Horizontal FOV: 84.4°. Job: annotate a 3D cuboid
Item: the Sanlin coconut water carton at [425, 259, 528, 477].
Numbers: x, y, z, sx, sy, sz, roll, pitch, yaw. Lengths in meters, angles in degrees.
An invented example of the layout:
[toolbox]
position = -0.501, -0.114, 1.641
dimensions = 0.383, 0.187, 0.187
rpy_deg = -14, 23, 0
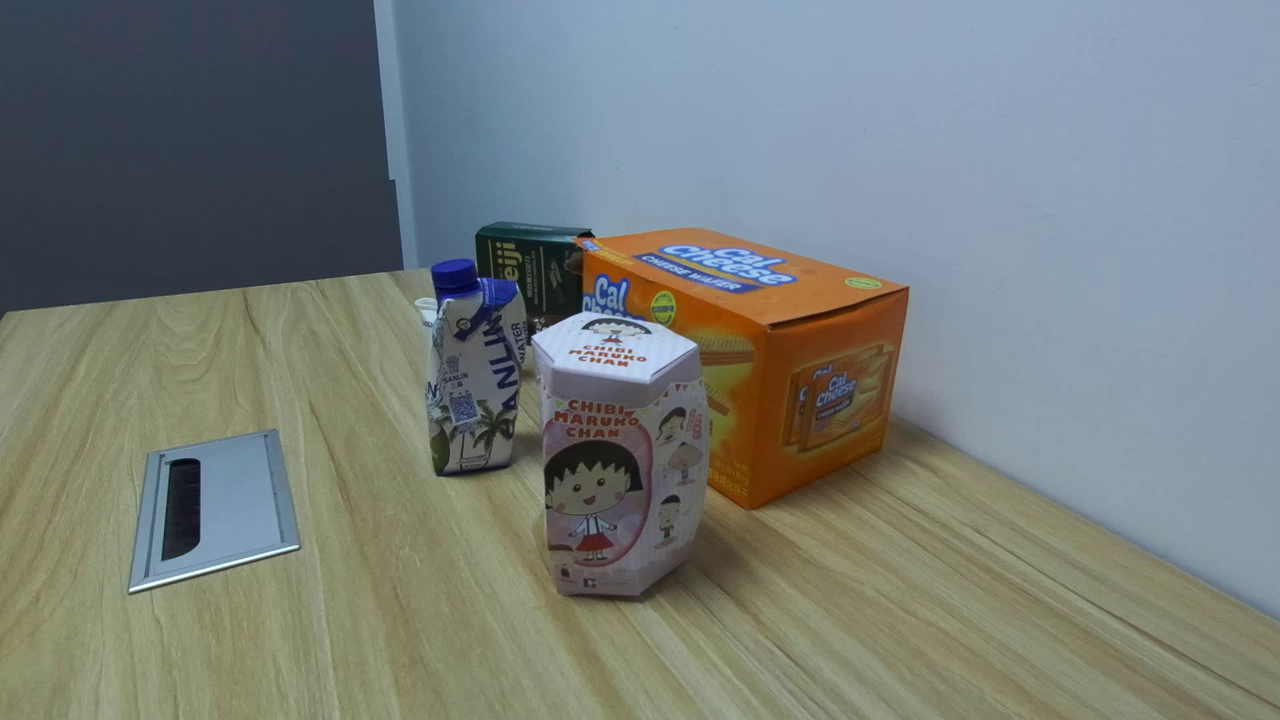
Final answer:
[Sanlin coconut water carton]
position = -0.109, 0.006, 0.479
dimensions = 0.069, 0.144, 0.056
rpy_deg = 2, 27, -20

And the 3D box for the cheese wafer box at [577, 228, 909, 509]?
[cheese wafer box]
position = 0.063, -0.015, 0.544
dimensions = 0.150, 0.137, 0.226
rpy_deg = -15, 29, -34

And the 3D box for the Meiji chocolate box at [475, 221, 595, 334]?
[Meiji chocolate box]
position = -0.102, -0.076, 0.702
dimensions = 0.122, 0.116, 0.058
rpy_deg = 10, 24, 17
